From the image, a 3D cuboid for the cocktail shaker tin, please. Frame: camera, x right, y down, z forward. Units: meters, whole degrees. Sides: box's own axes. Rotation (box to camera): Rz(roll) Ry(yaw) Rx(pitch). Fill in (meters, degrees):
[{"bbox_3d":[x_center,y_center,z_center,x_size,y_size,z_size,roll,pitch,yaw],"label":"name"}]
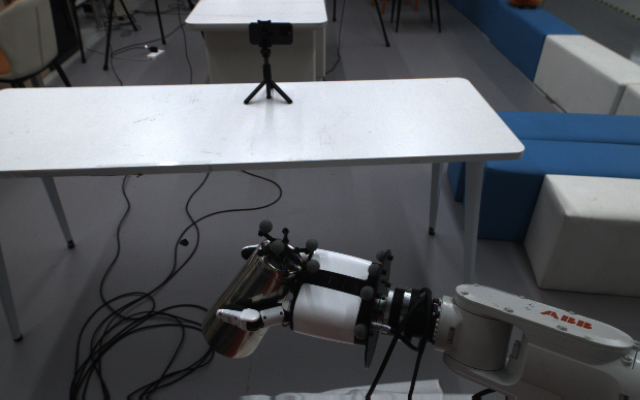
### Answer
[{"bbox_3d":[-0.091,0.130,0.679,0.093,0.170,0.093,26,32,-17],"label":"cocktail shaker tin"}]
